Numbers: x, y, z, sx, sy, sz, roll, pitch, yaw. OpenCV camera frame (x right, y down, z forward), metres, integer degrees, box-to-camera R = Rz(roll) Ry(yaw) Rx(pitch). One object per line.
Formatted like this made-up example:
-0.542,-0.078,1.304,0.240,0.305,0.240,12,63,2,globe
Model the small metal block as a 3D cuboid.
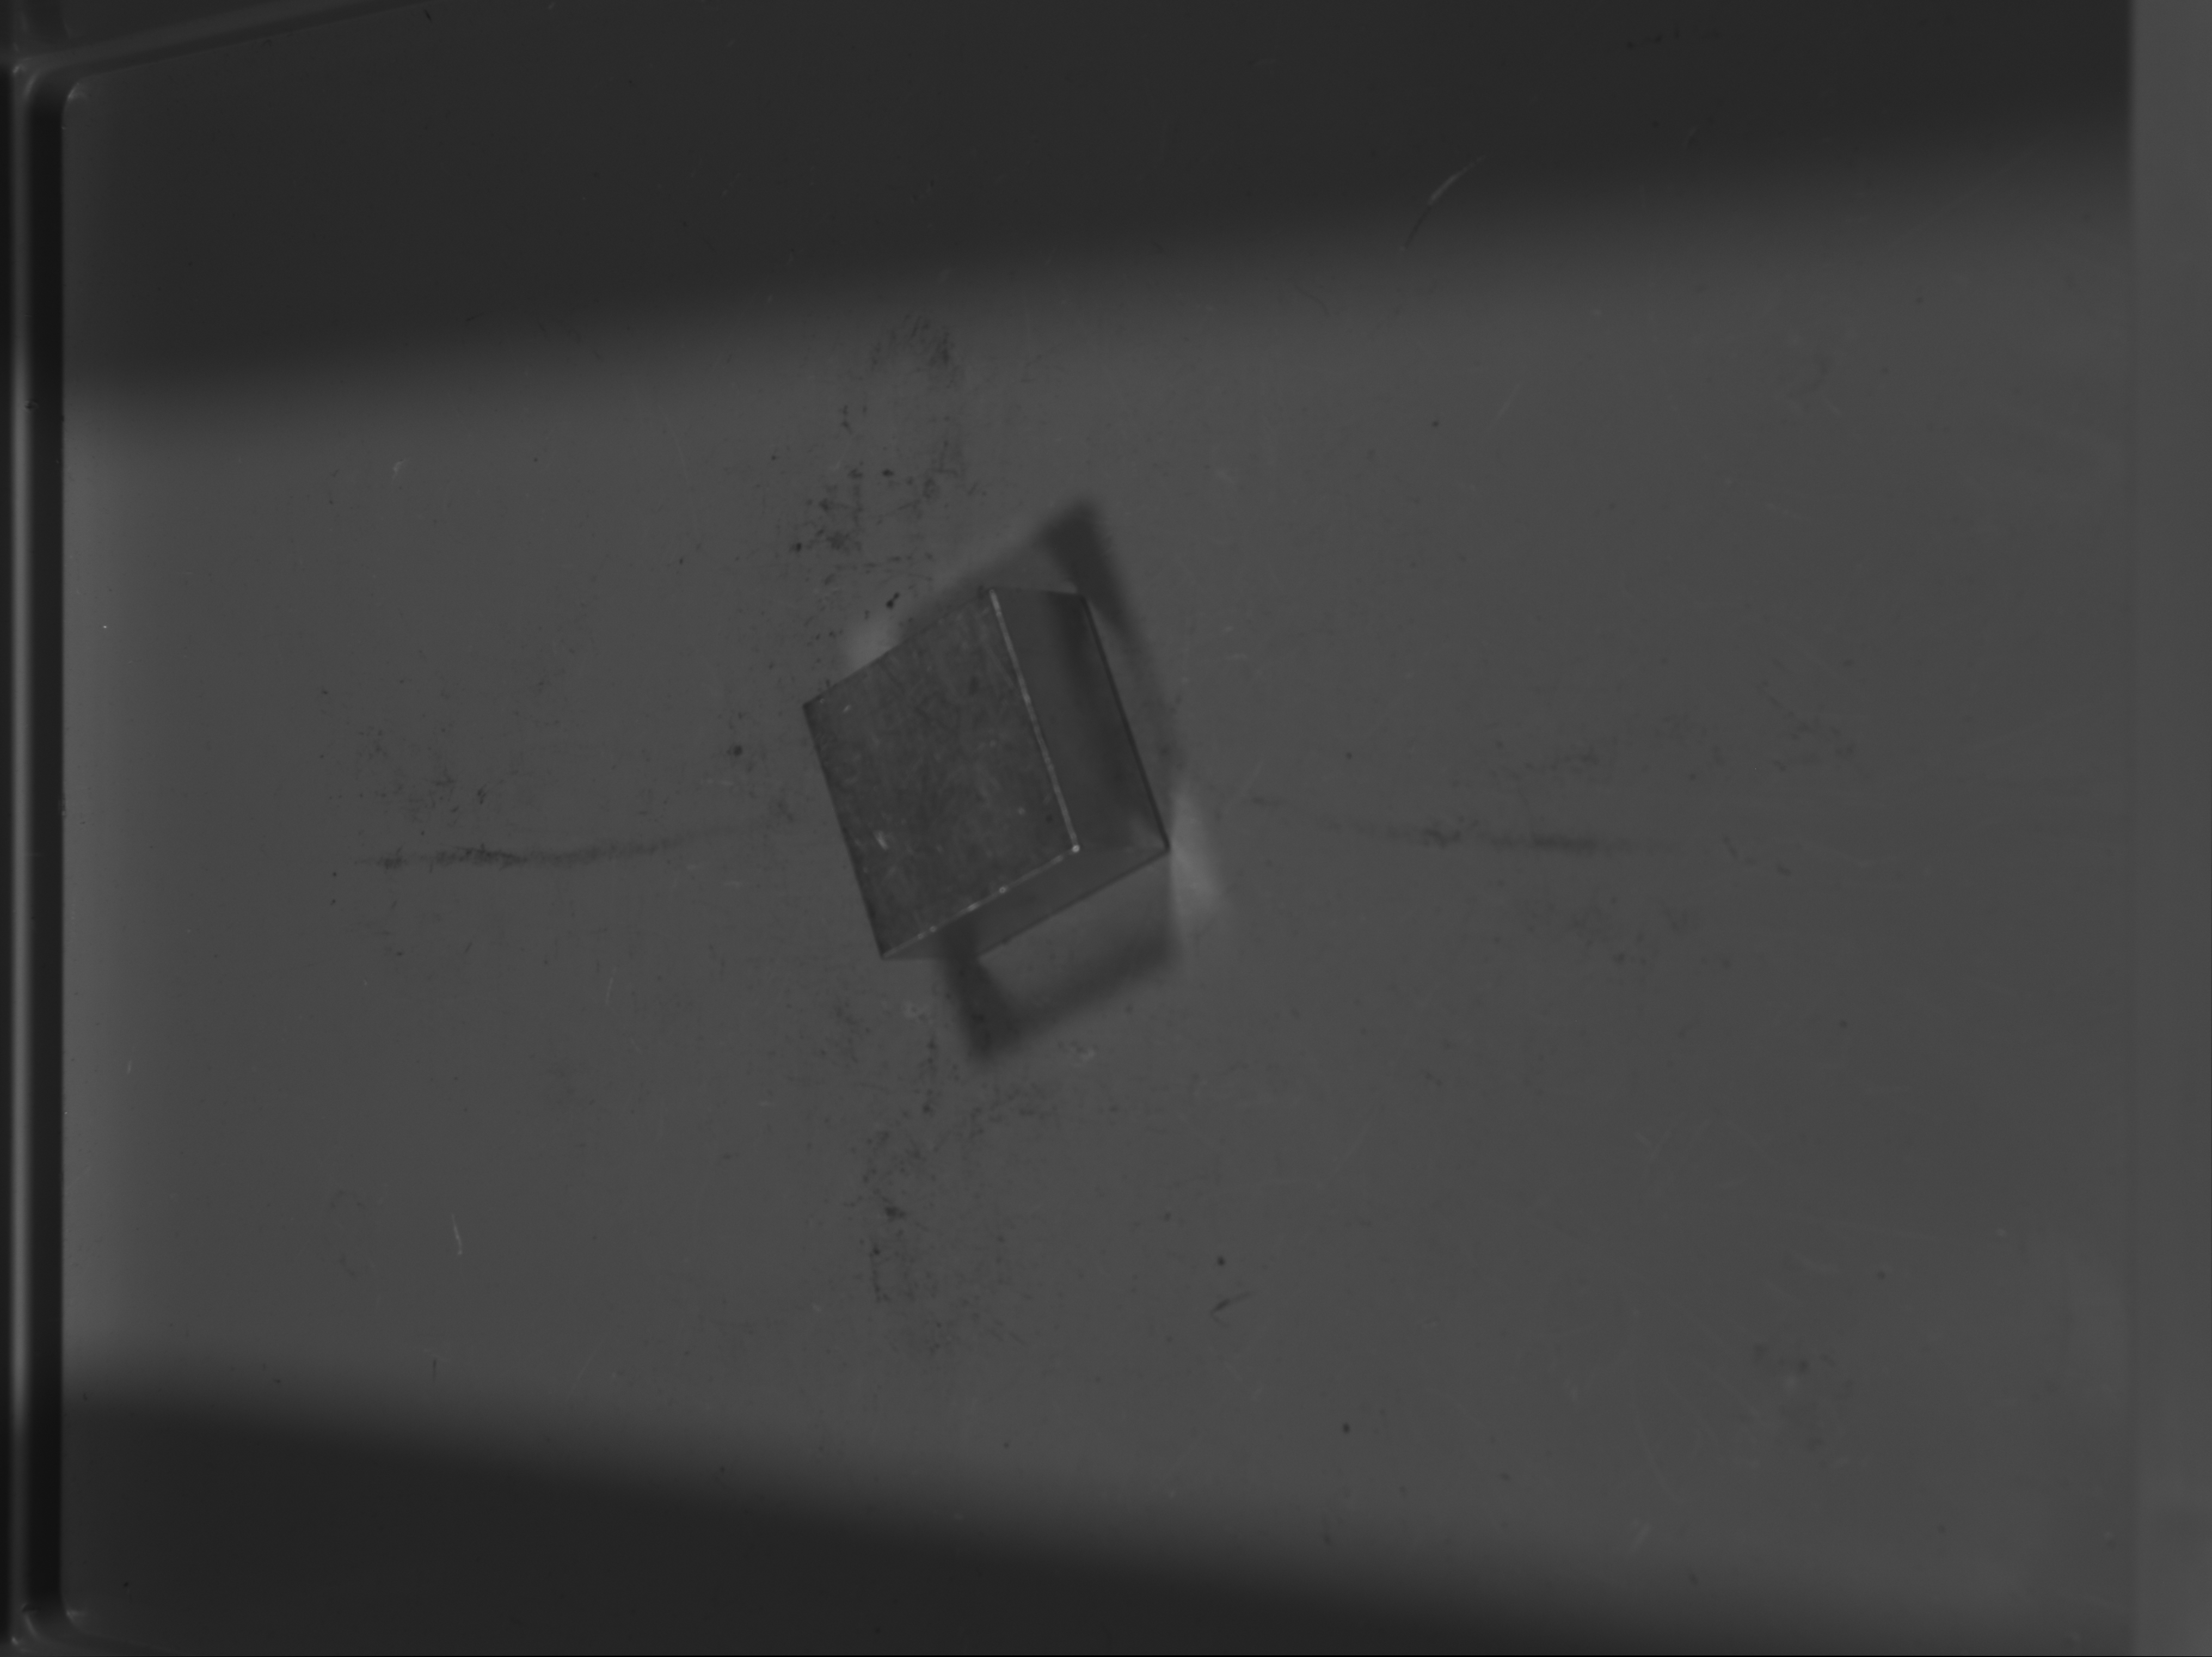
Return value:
-0.027,-0.009,0.654,0.050,0.025,0.050,-29,72,35,small metal block
